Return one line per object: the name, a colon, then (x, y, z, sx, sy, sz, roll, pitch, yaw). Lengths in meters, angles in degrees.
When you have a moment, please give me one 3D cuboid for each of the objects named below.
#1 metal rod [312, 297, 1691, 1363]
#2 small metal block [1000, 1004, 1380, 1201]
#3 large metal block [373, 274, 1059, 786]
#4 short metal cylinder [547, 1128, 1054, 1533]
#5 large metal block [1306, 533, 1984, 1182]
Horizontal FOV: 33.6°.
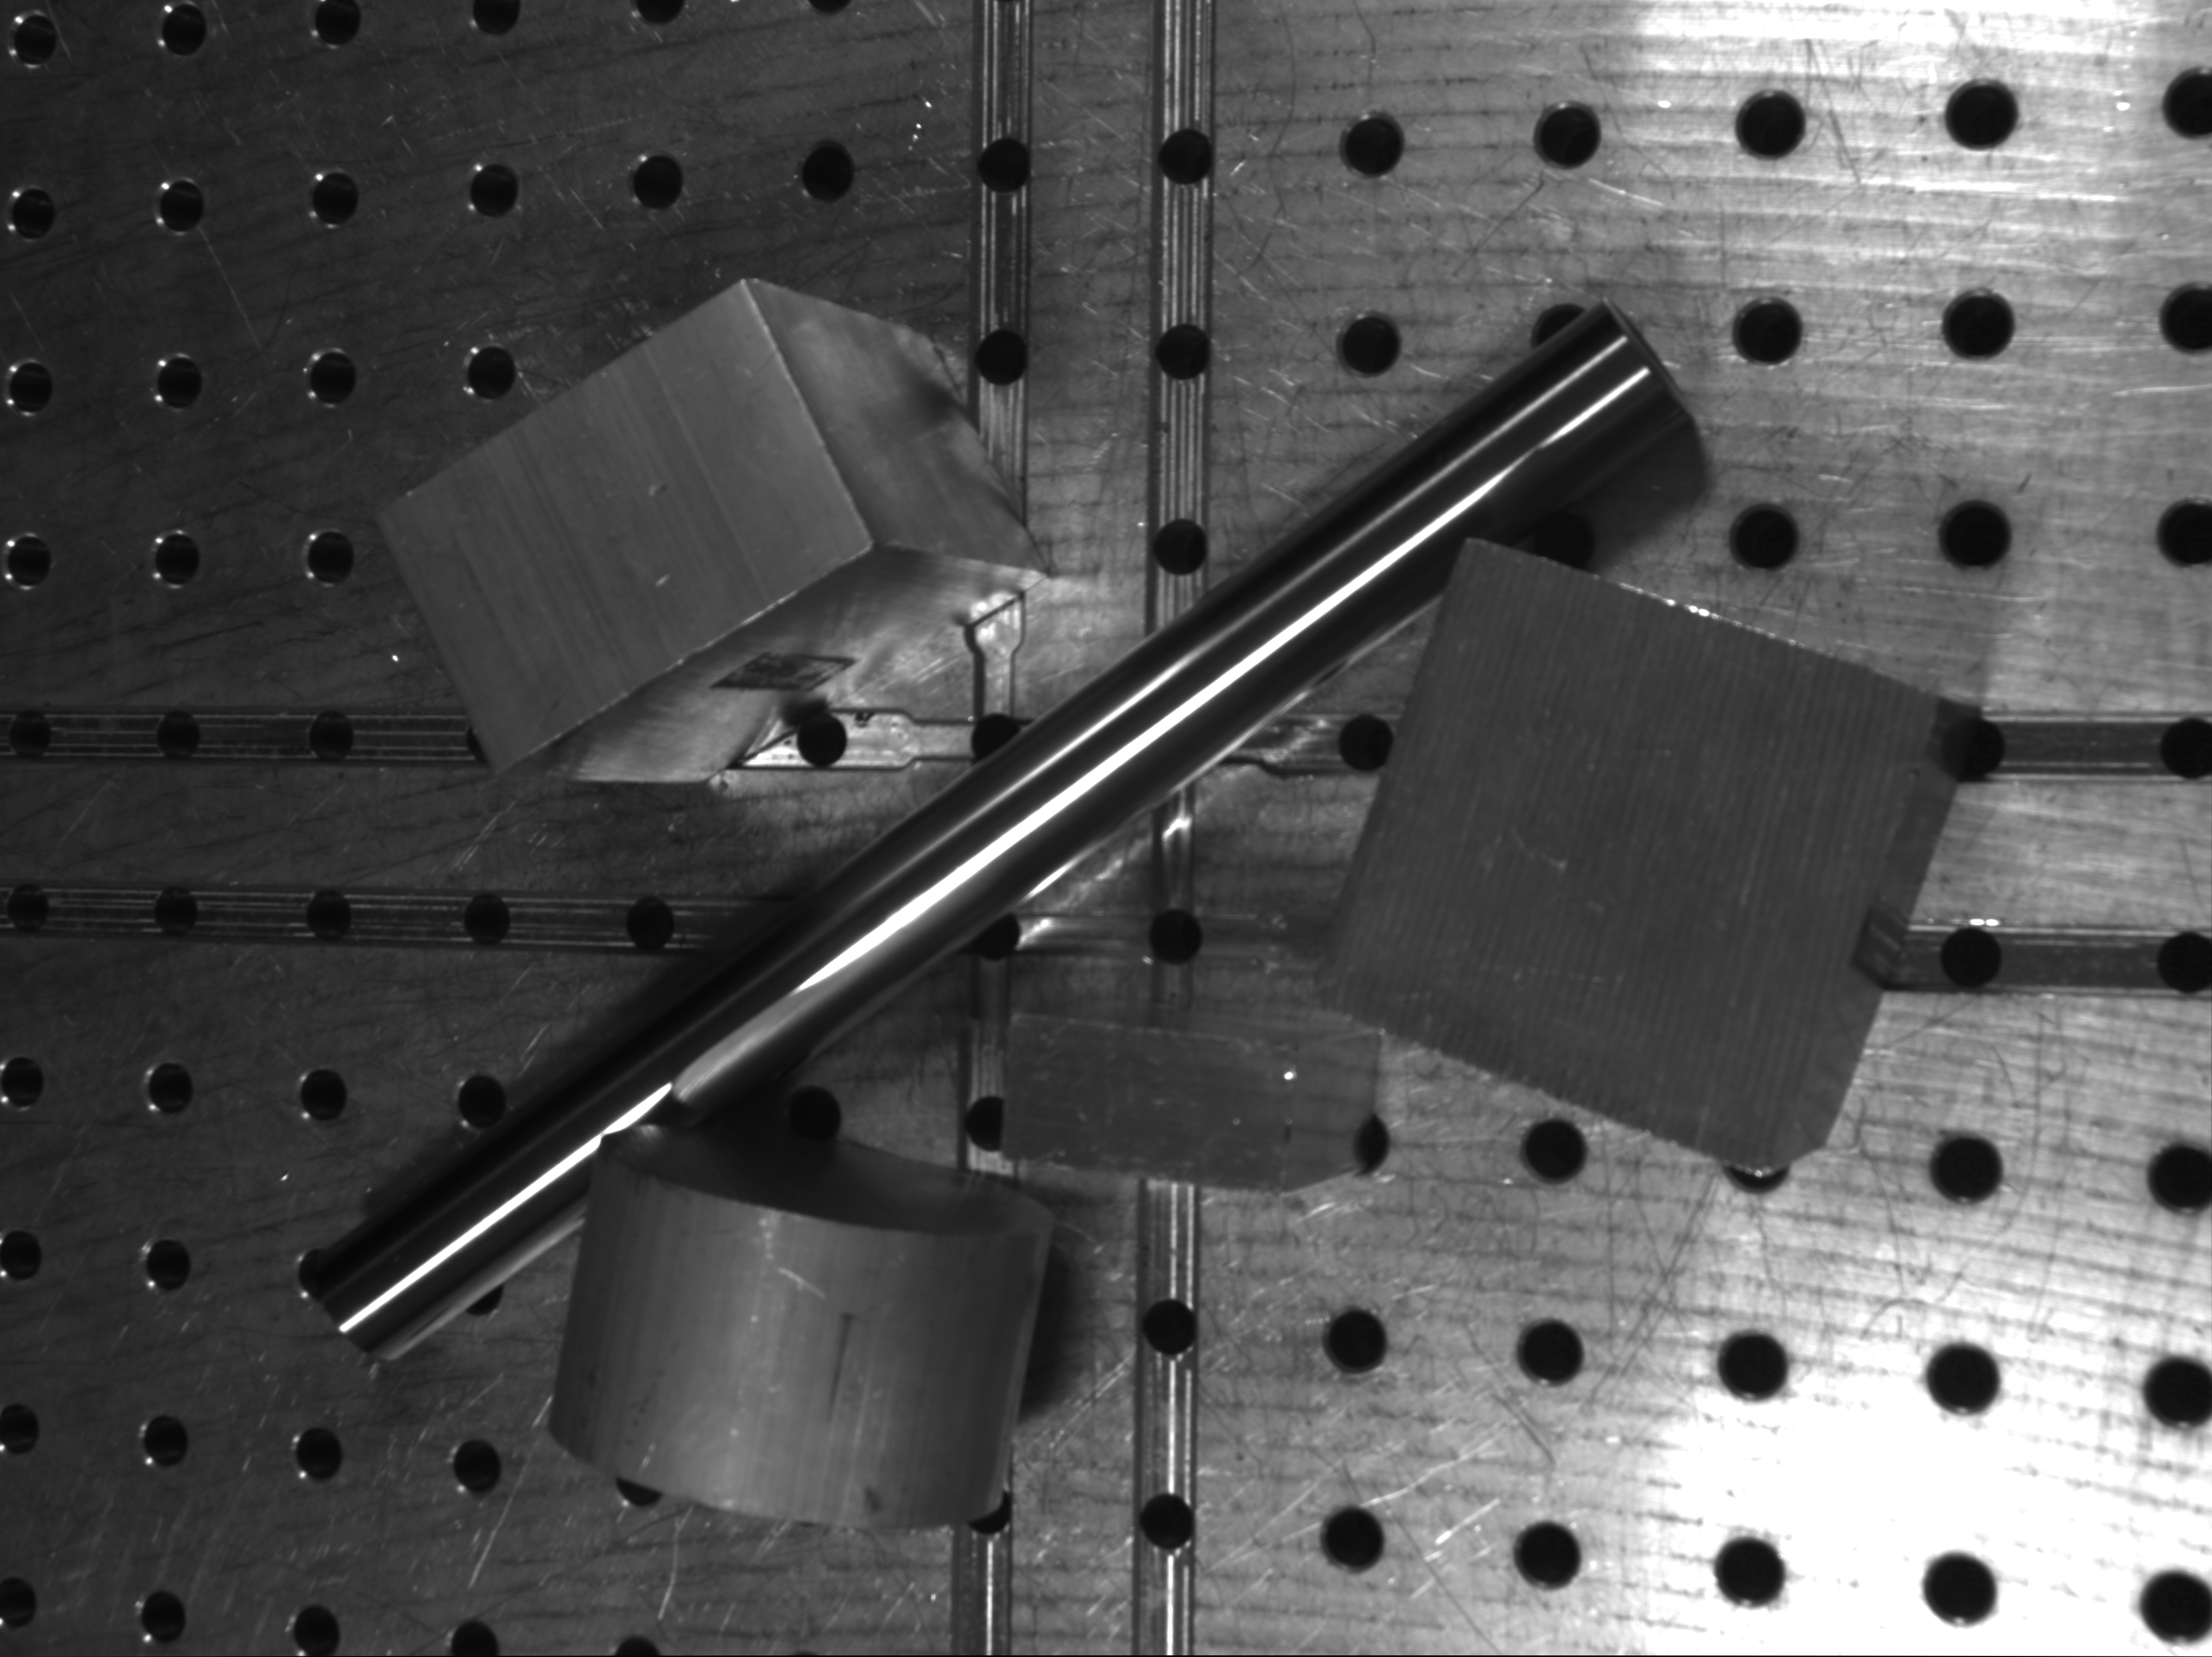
metal rod: (-0.026, 0.006, 0.655, 0.300, 0.025, 0.025, -36, 78, 16)
small metal block: (0.015, 0.046, 0.628, 0.050, 0.050, 0.025, 5, 92, 20)
large metal block: (-0.066, -0.049, 0.642, 0.080, 0.080, 0.050, -30, 80, 17)
short metal cylinder: (-0.053, 0.085, 0.636, 0.080, 0.080, 0.050, 12, 94, 19)
large metal block: (0.089, 0.004, 0.599, 0.080, 0.050, 0.080, 20, 97, 19)
